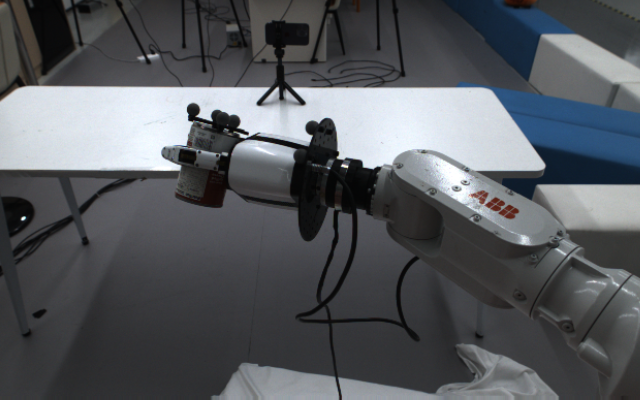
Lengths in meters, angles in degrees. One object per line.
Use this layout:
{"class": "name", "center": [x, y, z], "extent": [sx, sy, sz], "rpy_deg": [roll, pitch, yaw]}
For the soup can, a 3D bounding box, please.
{"class": "soup can", "center": [-0.152, -0.046, 0.654], "extent": [0.067, 0.101, 0.067], "rpy_deg": [16, 7, -2]}
